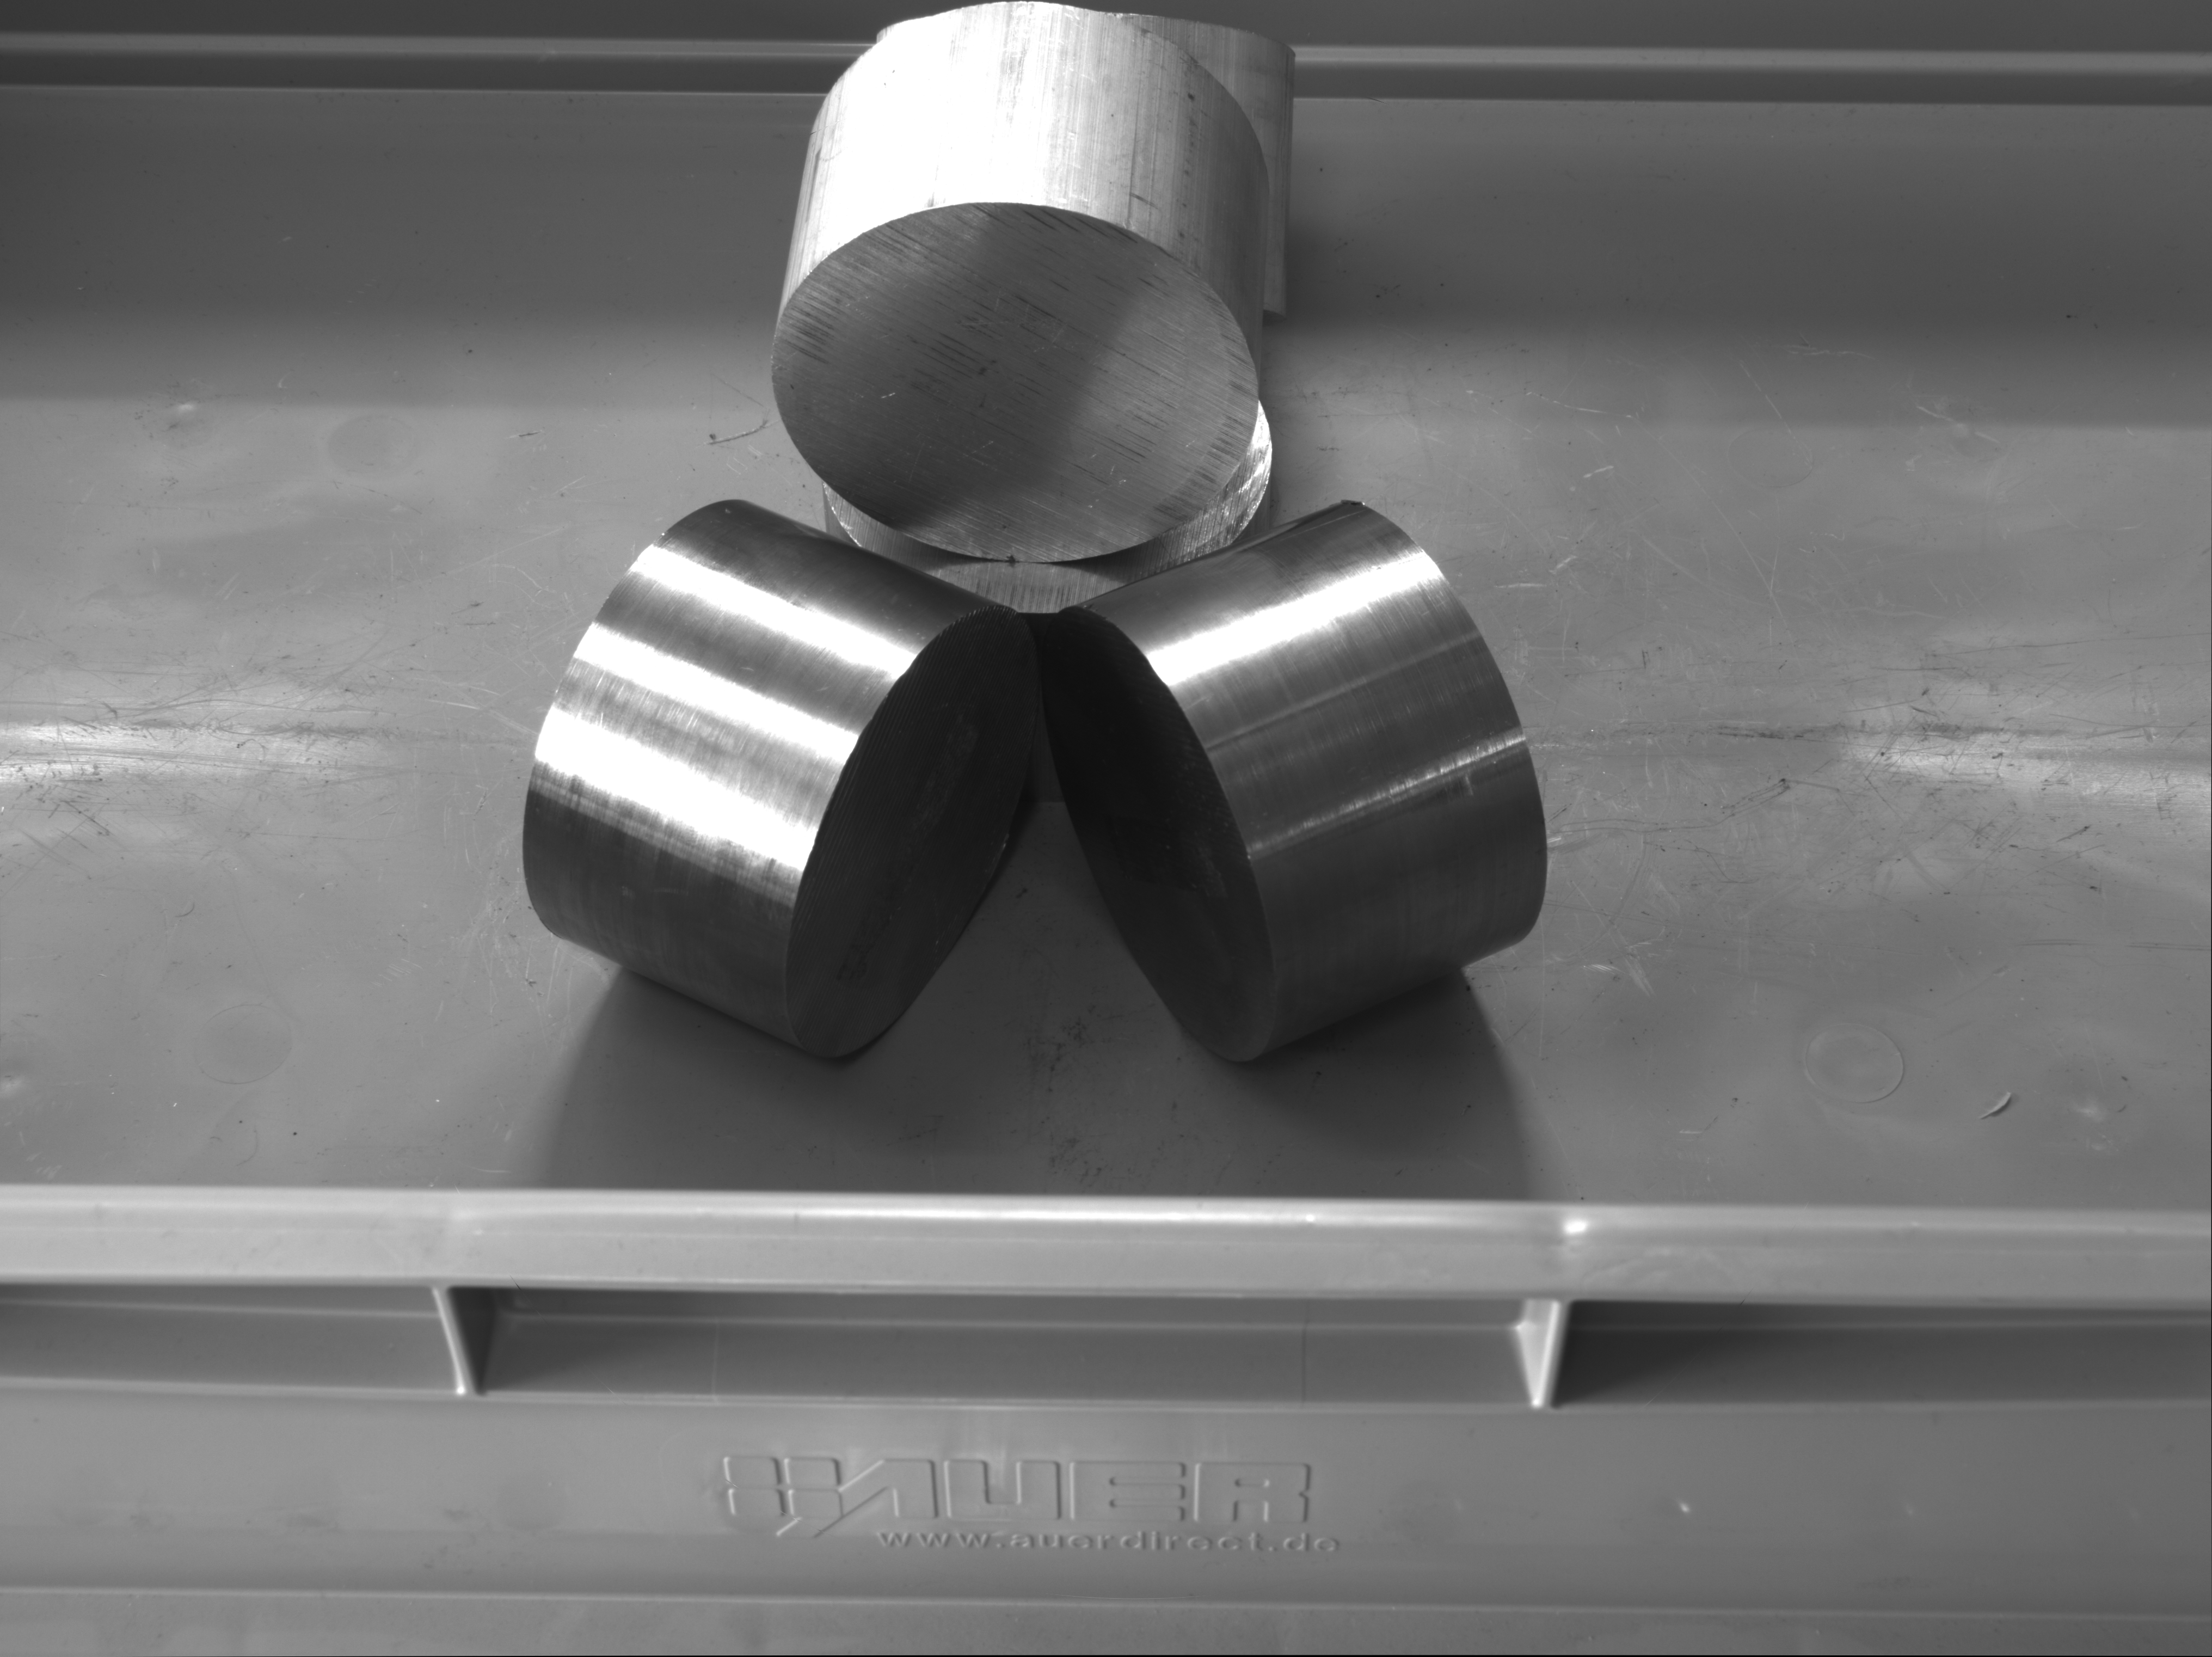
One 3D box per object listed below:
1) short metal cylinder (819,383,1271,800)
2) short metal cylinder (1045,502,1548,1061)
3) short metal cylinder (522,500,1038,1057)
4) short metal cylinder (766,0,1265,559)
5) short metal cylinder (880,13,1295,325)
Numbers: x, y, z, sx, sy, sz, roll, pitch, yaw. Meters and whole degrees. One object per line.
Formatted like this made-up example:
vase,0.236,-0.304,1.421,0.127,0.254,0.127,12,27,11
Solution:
short metal cylinder,-0.011,-0.052,0.666,0.080,0.050,0.080,0,50,0
short metal cylinder,0.031,-0.008,0.611,0.050,0.080,0.080,-23,53,-17
short metal cylinder,-0.053,-0.008,0.611,0.050,0.080,0.080,23,54,19
short metal cylinder,-0.014,-0.091,0.615,0.080,0.080,0.050,2,50,2
short metal cylinder,-0.005,-0.124,0.701,0.080,0.080,0.050,3,92,3
